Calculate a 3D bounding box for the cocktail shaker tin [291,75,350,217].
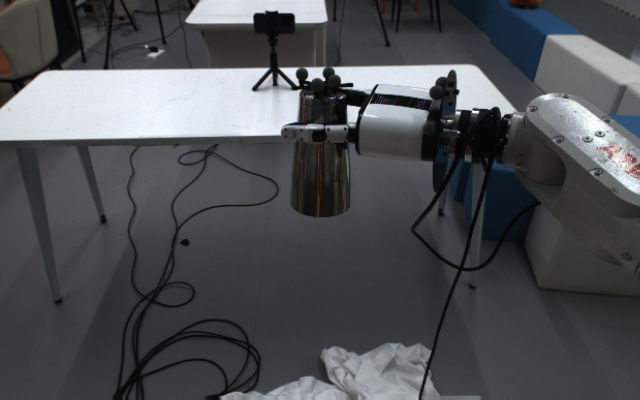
[{"bbox_3d":[0.004,-0.075,0.703,0.093,0.170,0.093,1,27,-1],"label":"cocktail shaker tin"}]
